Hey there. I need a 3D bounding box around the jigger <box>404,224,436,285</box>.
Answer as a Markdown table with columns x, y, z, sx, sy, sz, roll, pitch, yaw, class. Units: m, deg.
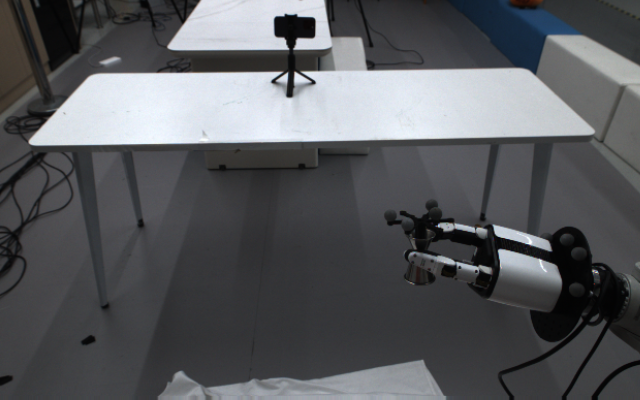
| x | y | z | sx | sy | sz | roll | pitch | yaw | class |
| --- | --- | --- | --- | --- | --- | --- | --- | --- | --- |
| 0.137 | 0.077 | 0.667 | 0.043 | 0.071 | 0.043 | -2 | 19 | 1 | jigger |
